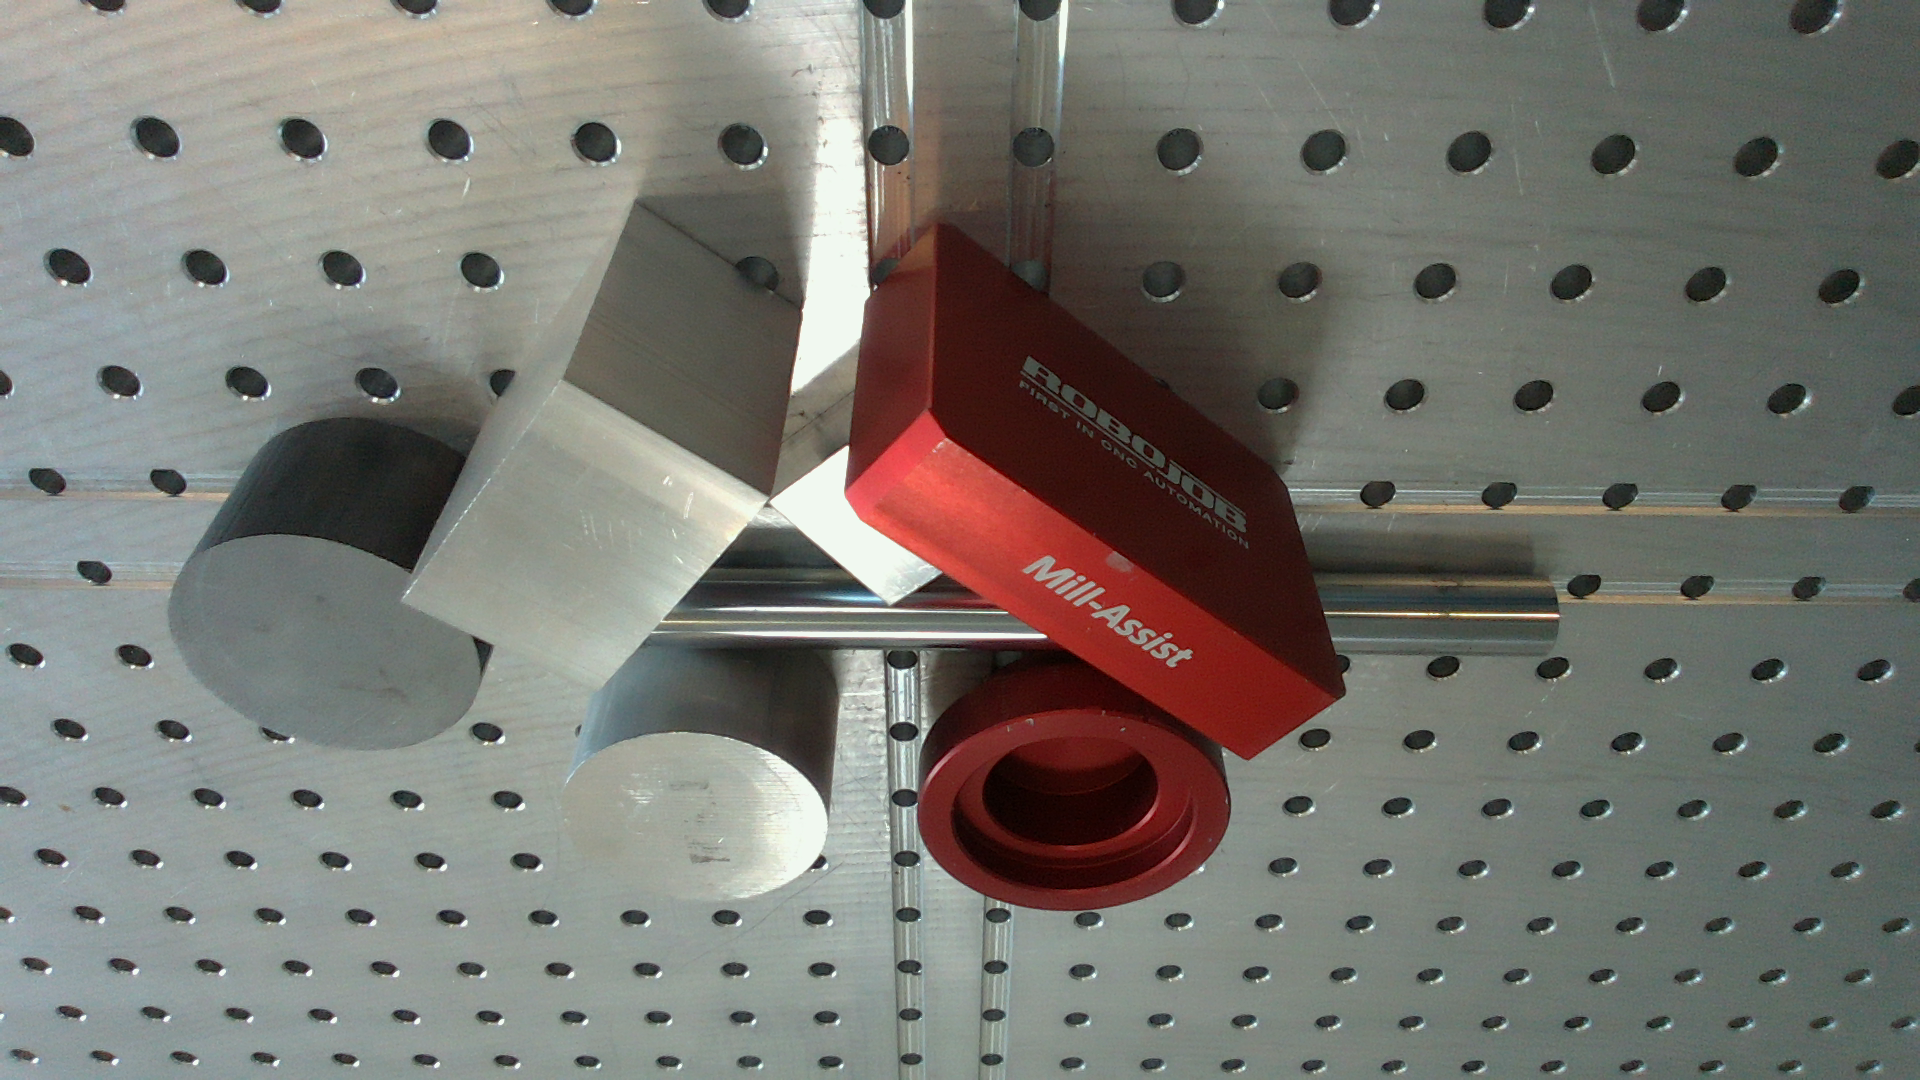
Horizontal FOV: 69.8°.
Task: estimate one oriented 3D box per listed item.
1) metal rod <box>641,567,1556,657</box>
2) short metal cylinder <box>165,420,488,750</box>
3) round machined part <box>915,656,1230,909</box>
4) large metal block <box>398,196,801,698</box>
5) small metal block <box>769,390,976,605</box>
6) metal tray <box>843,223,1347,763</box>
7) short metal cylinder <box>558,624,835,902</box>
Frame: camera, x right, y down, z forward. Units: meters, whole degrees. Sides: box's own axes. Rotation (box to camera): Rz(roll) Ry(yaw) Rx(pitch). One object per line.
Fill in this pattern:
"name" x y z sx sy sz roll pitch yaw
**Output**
"metal rod" 0.024 0.021 0.412 0.300 0.025 0.025 0 130 -1
"short metal cylinder" -0.170 0.013 0.387 0.080 0.050 0.080 0 130 0
"round machined part" 0.035 0.073 0.445 0.098 0.042 0.098 0 130 0
"large metal block" -0.086 -0.023 0.338 0.050 0.080 0.080 31 124 -24
"small metal block" -0.018 -0.016 0.380 0.050 0.025 0.050 -32 123 24
"metal tray" 0.034 -0.012 0.341 0.130 0.090 0.030 33 123 -25
"short metal cylinder" -0.081 0.069 0.435 0.080 0.050 0.080 0 130 0
